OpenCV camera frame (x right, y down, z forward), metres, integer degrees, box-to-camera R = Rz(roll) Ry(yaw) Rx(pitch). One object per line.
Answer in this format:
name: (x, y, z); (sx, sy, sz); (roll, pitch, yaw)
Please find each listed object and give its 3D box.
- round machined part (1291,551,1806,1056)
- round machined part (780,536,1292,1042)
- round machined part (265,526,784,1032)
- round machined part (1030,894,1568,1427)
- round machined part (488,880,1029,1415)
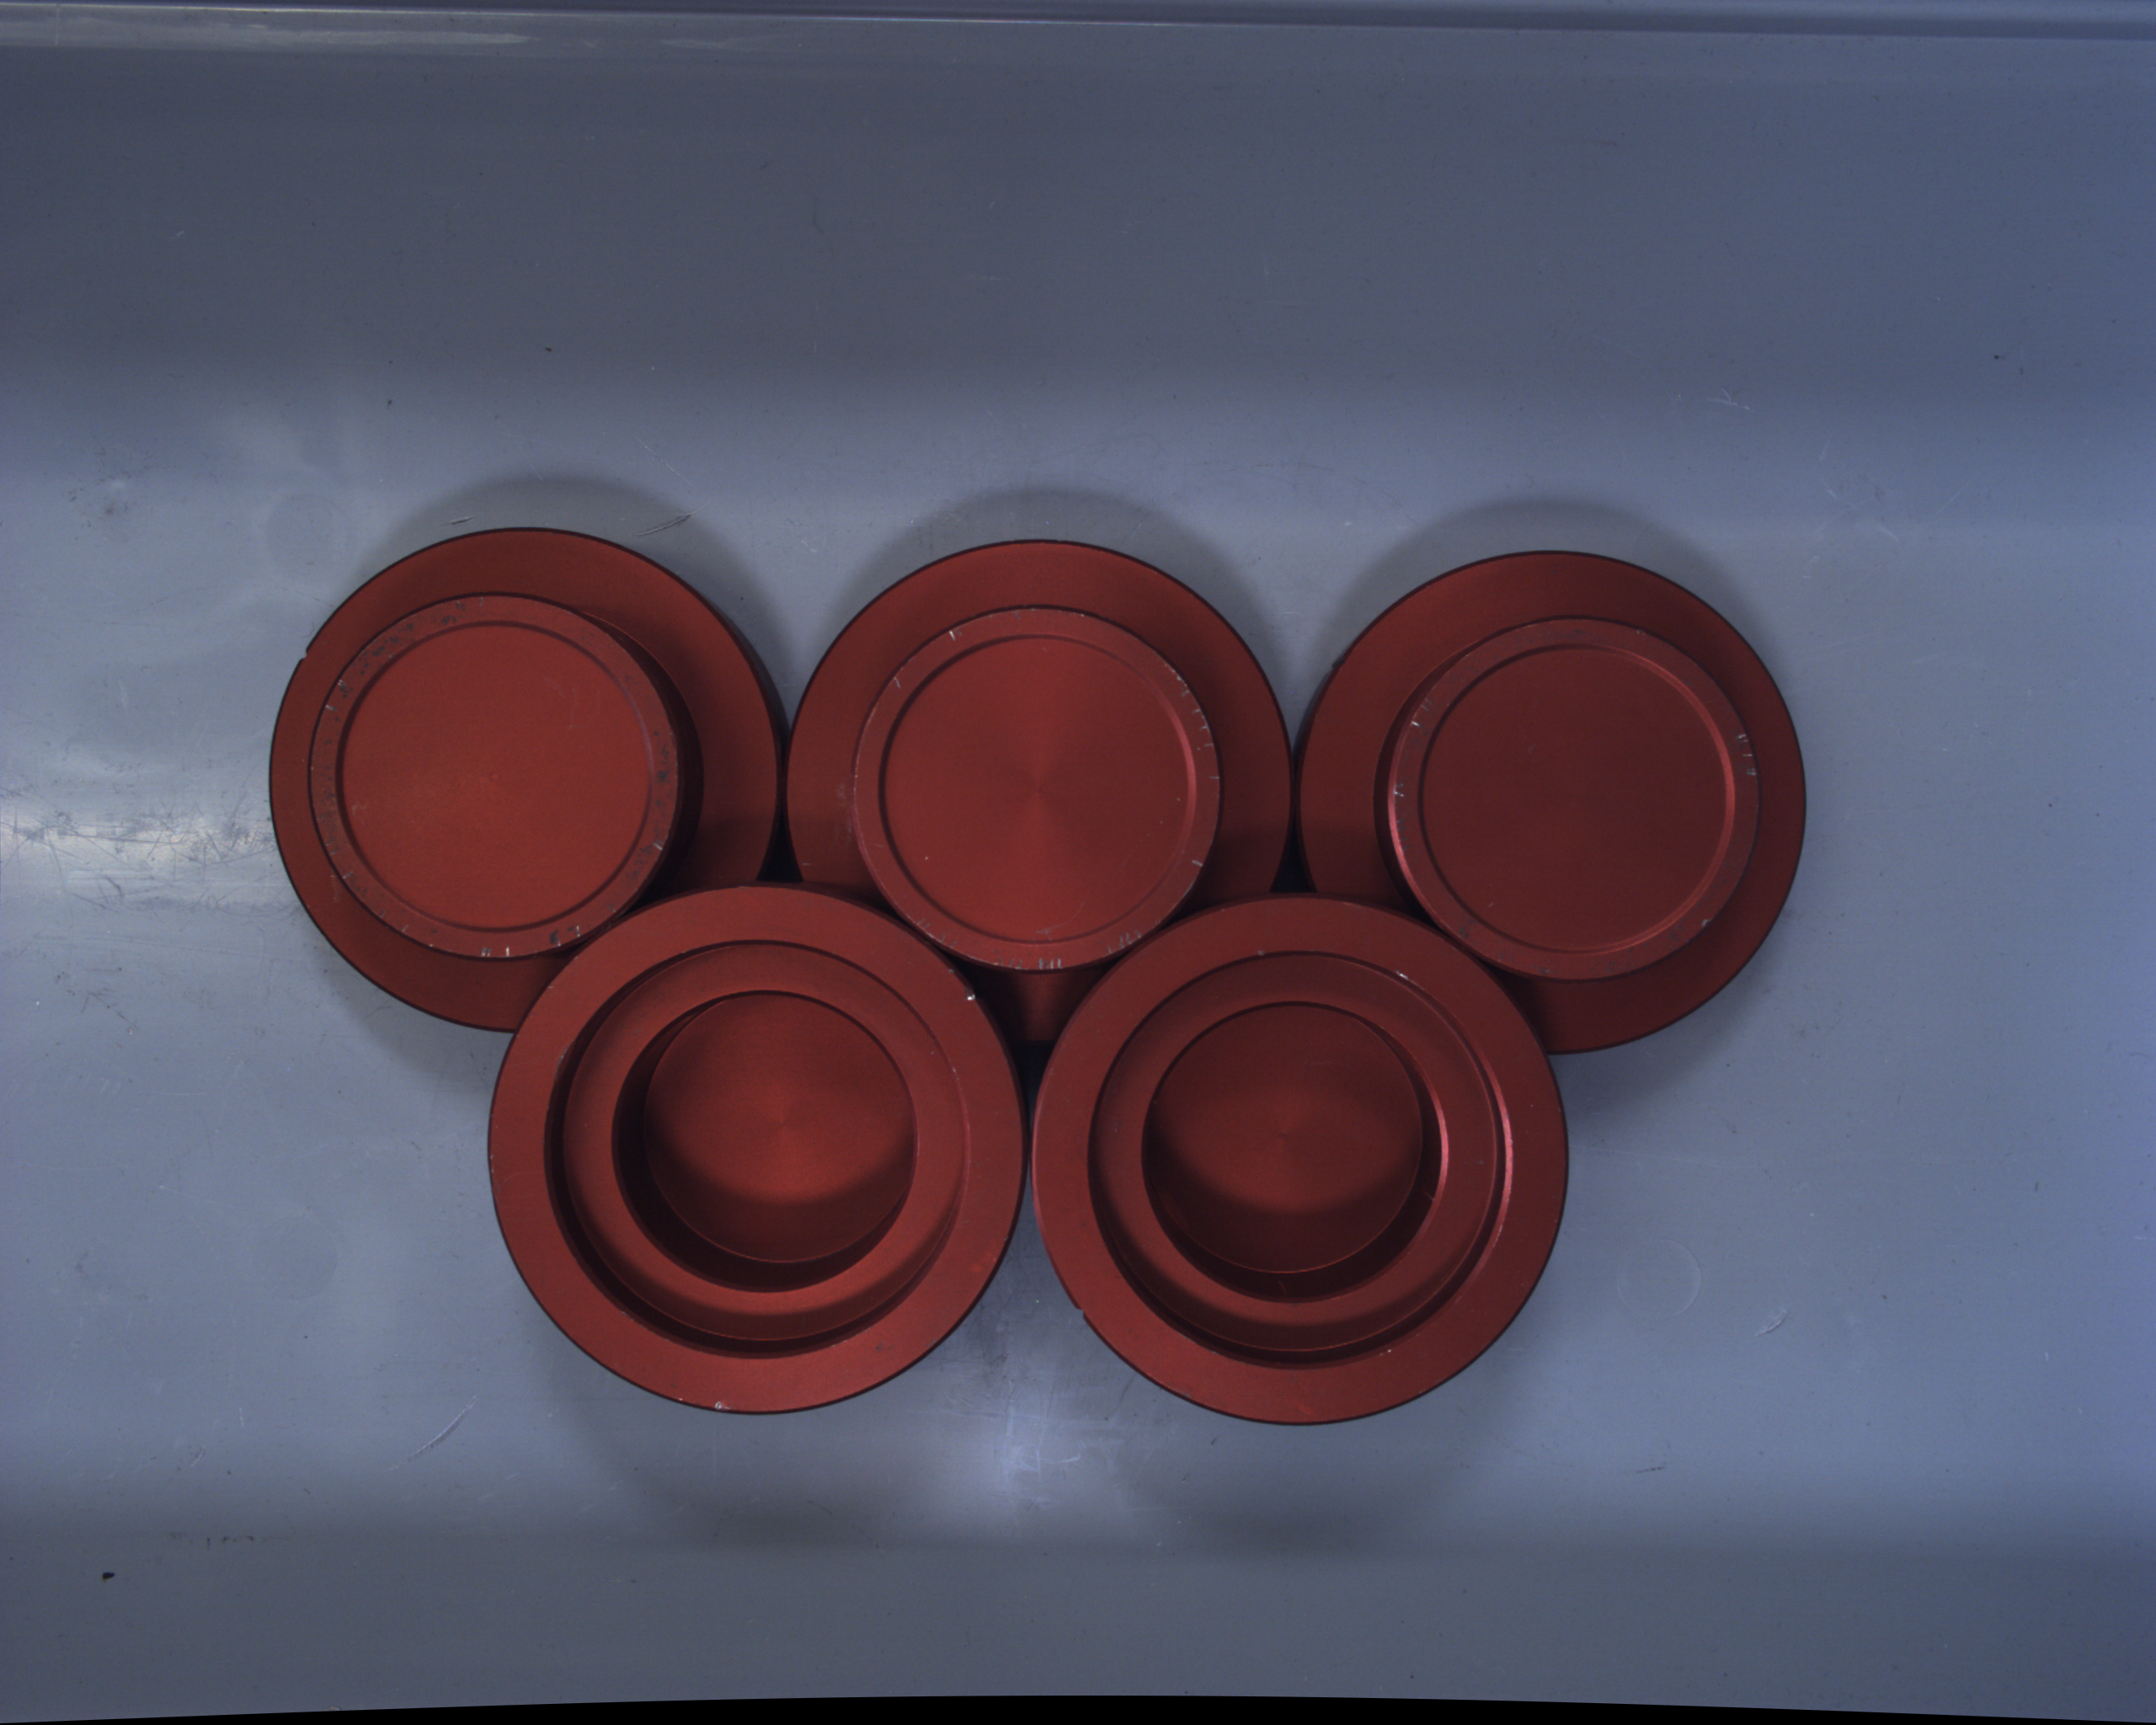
round machined part: (0.091, -0.011, 0.401); (0.099, 0.042, 0.097); (0, 89, 0)
round machined part: (-0.008, -0.014, 0.400); (0.099, 0.042, 0.097); (0, 89, 0)
round machined part: (-0.106, -0.016, 0.399); (0.099, 0.042, 0.097); (0, 89, -1)
round machined part: (0.040, 0.054, 0.401); (0.099, 0.042, 0.097); (0, 90, 0)
round machined part: (-0.058, 0.052, 0.401); (0.099, 0.042, 0.097); (0, 90, 0)
